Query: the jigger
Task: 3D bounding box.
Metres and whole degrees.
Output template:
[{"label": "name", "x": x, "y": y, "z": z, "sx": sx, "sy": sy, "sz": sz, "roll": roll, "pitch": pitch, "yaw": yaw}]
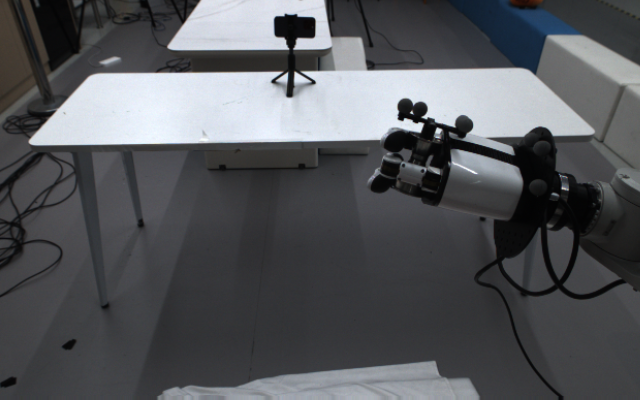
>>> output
[{"label": "jigger", "x": 0.118, "y": -0.043, "z": 0.582, "sx": 0.043, "sy": 0.071, "sz": 0.043, "roll": 15, "pitch": 16, "yaw": -5}]
